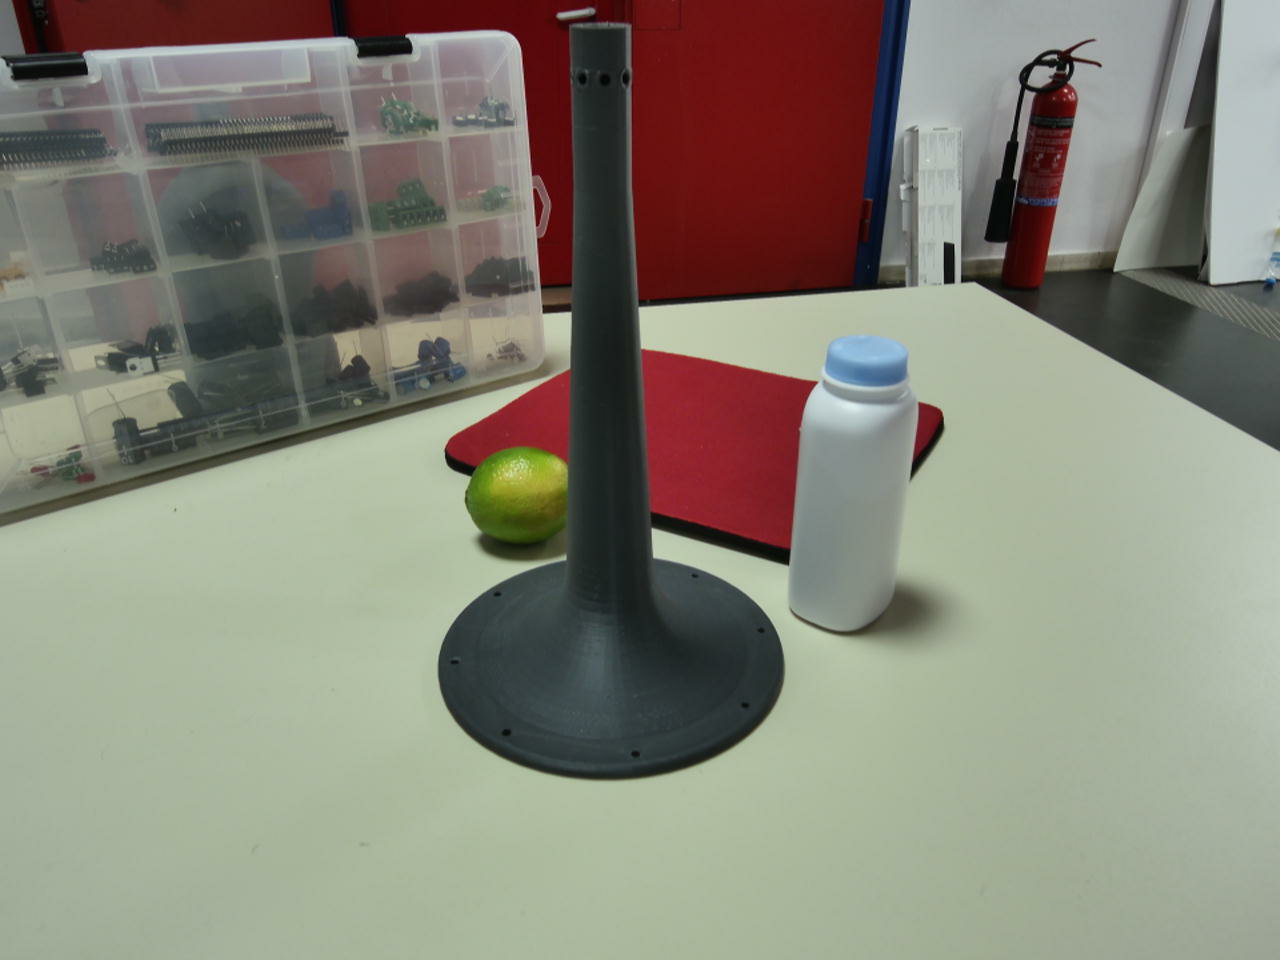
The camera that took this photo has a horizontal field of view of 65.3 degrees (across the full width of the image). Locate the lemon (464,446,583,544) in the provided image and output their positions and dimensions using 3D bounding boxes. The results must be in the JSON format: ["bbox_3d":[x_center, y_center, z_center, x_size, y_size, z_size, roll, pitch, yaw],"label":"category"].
[{"bbox_3d":[-0.062,0.008,0.524,0.055,0.050,0.054,18,31,33],"label":"lemon"}]
